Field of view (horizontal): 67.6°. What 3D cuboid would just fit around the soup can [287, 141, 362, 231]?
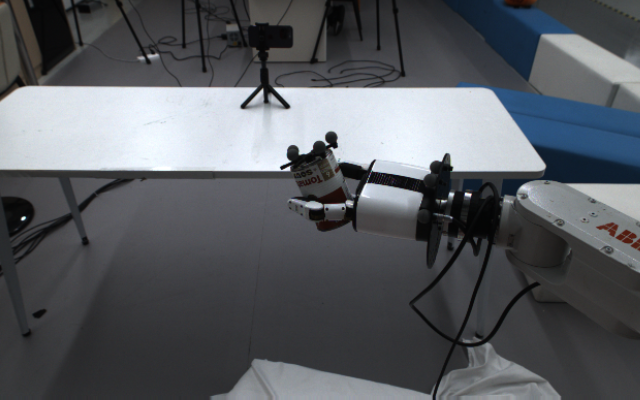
[{"bbox_3d":[0.008,-0.014,0.704,0.067,0.101,0.067,-23,16,7],"label":"soup can"}]
